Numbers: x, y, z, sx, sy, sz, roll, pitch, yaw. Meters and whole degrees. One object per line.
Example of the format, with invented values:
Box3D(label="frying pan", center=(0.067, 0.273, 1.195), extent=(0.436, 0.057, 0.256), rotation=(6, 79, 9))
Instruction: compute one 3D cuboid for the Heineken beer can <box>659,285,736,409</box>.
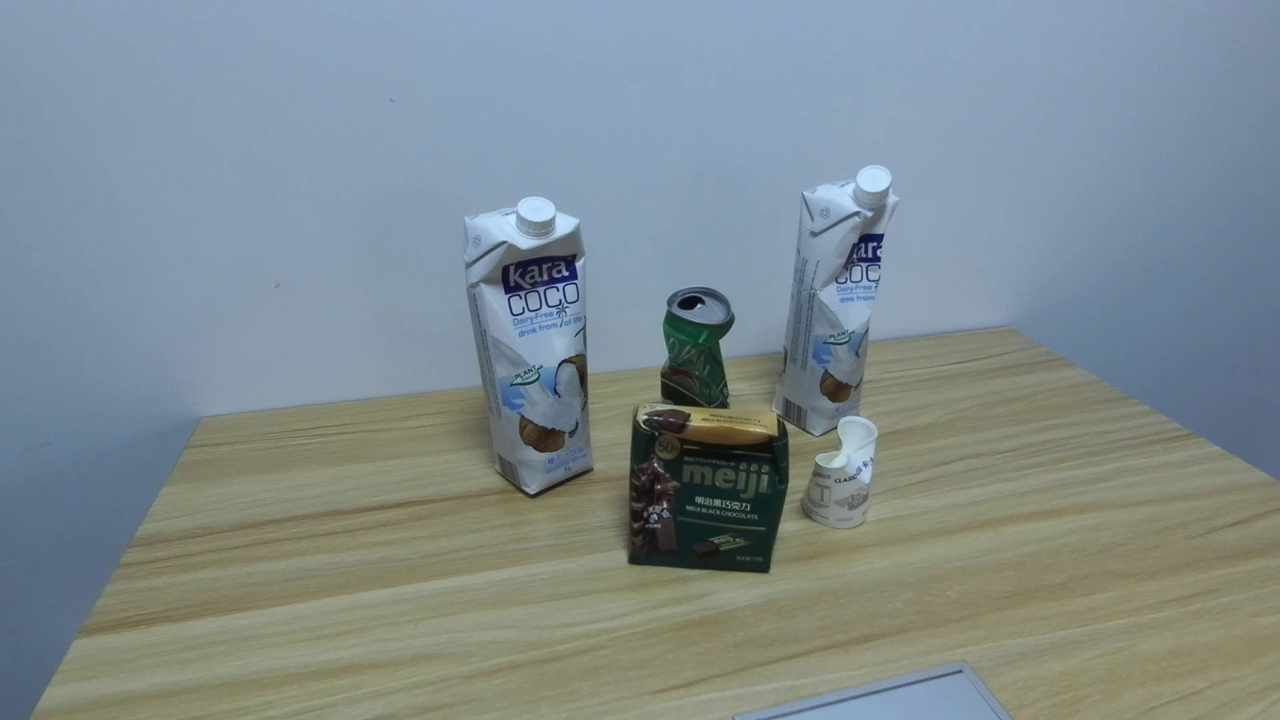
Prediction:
Box3D(label="Heineken beer can", center=(0.051, 0.015, 0.638), extent=(0.067, 0.159, 0.078), rotation=(-6, 31, -9))

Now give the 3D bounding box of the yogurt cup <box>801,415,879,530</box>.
Box3D(label="yogurt cup", center=(0.162, 0.093, 0.576), extent=(0.053, 0.071, 0.075), rotation=(3, 27, 6))

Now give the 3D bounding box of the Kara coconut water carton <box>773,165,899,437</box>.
Box3D(label="Kara coconut water carton", center=(0.180, -0.056, 0.668), extent=(0.083, 0.255, 0.078), rotation=(-12, 30, -25))

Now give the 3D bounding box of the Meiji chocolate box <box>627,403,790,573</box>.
Box3D(label="Meiji chocolate box", center=(0.047, 0.097, 0.537), extent=(0.113, 0.110, 0.058), rotation=(3, 15, 3))

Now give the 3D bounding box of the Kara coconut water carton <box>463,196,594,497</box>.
Box3D(label="Kara coconut water carton", center=(-0.087, -0.013, 0.593), extent=(0.100, 0.244, 0.071), rotation=(-23, 32, -35))
